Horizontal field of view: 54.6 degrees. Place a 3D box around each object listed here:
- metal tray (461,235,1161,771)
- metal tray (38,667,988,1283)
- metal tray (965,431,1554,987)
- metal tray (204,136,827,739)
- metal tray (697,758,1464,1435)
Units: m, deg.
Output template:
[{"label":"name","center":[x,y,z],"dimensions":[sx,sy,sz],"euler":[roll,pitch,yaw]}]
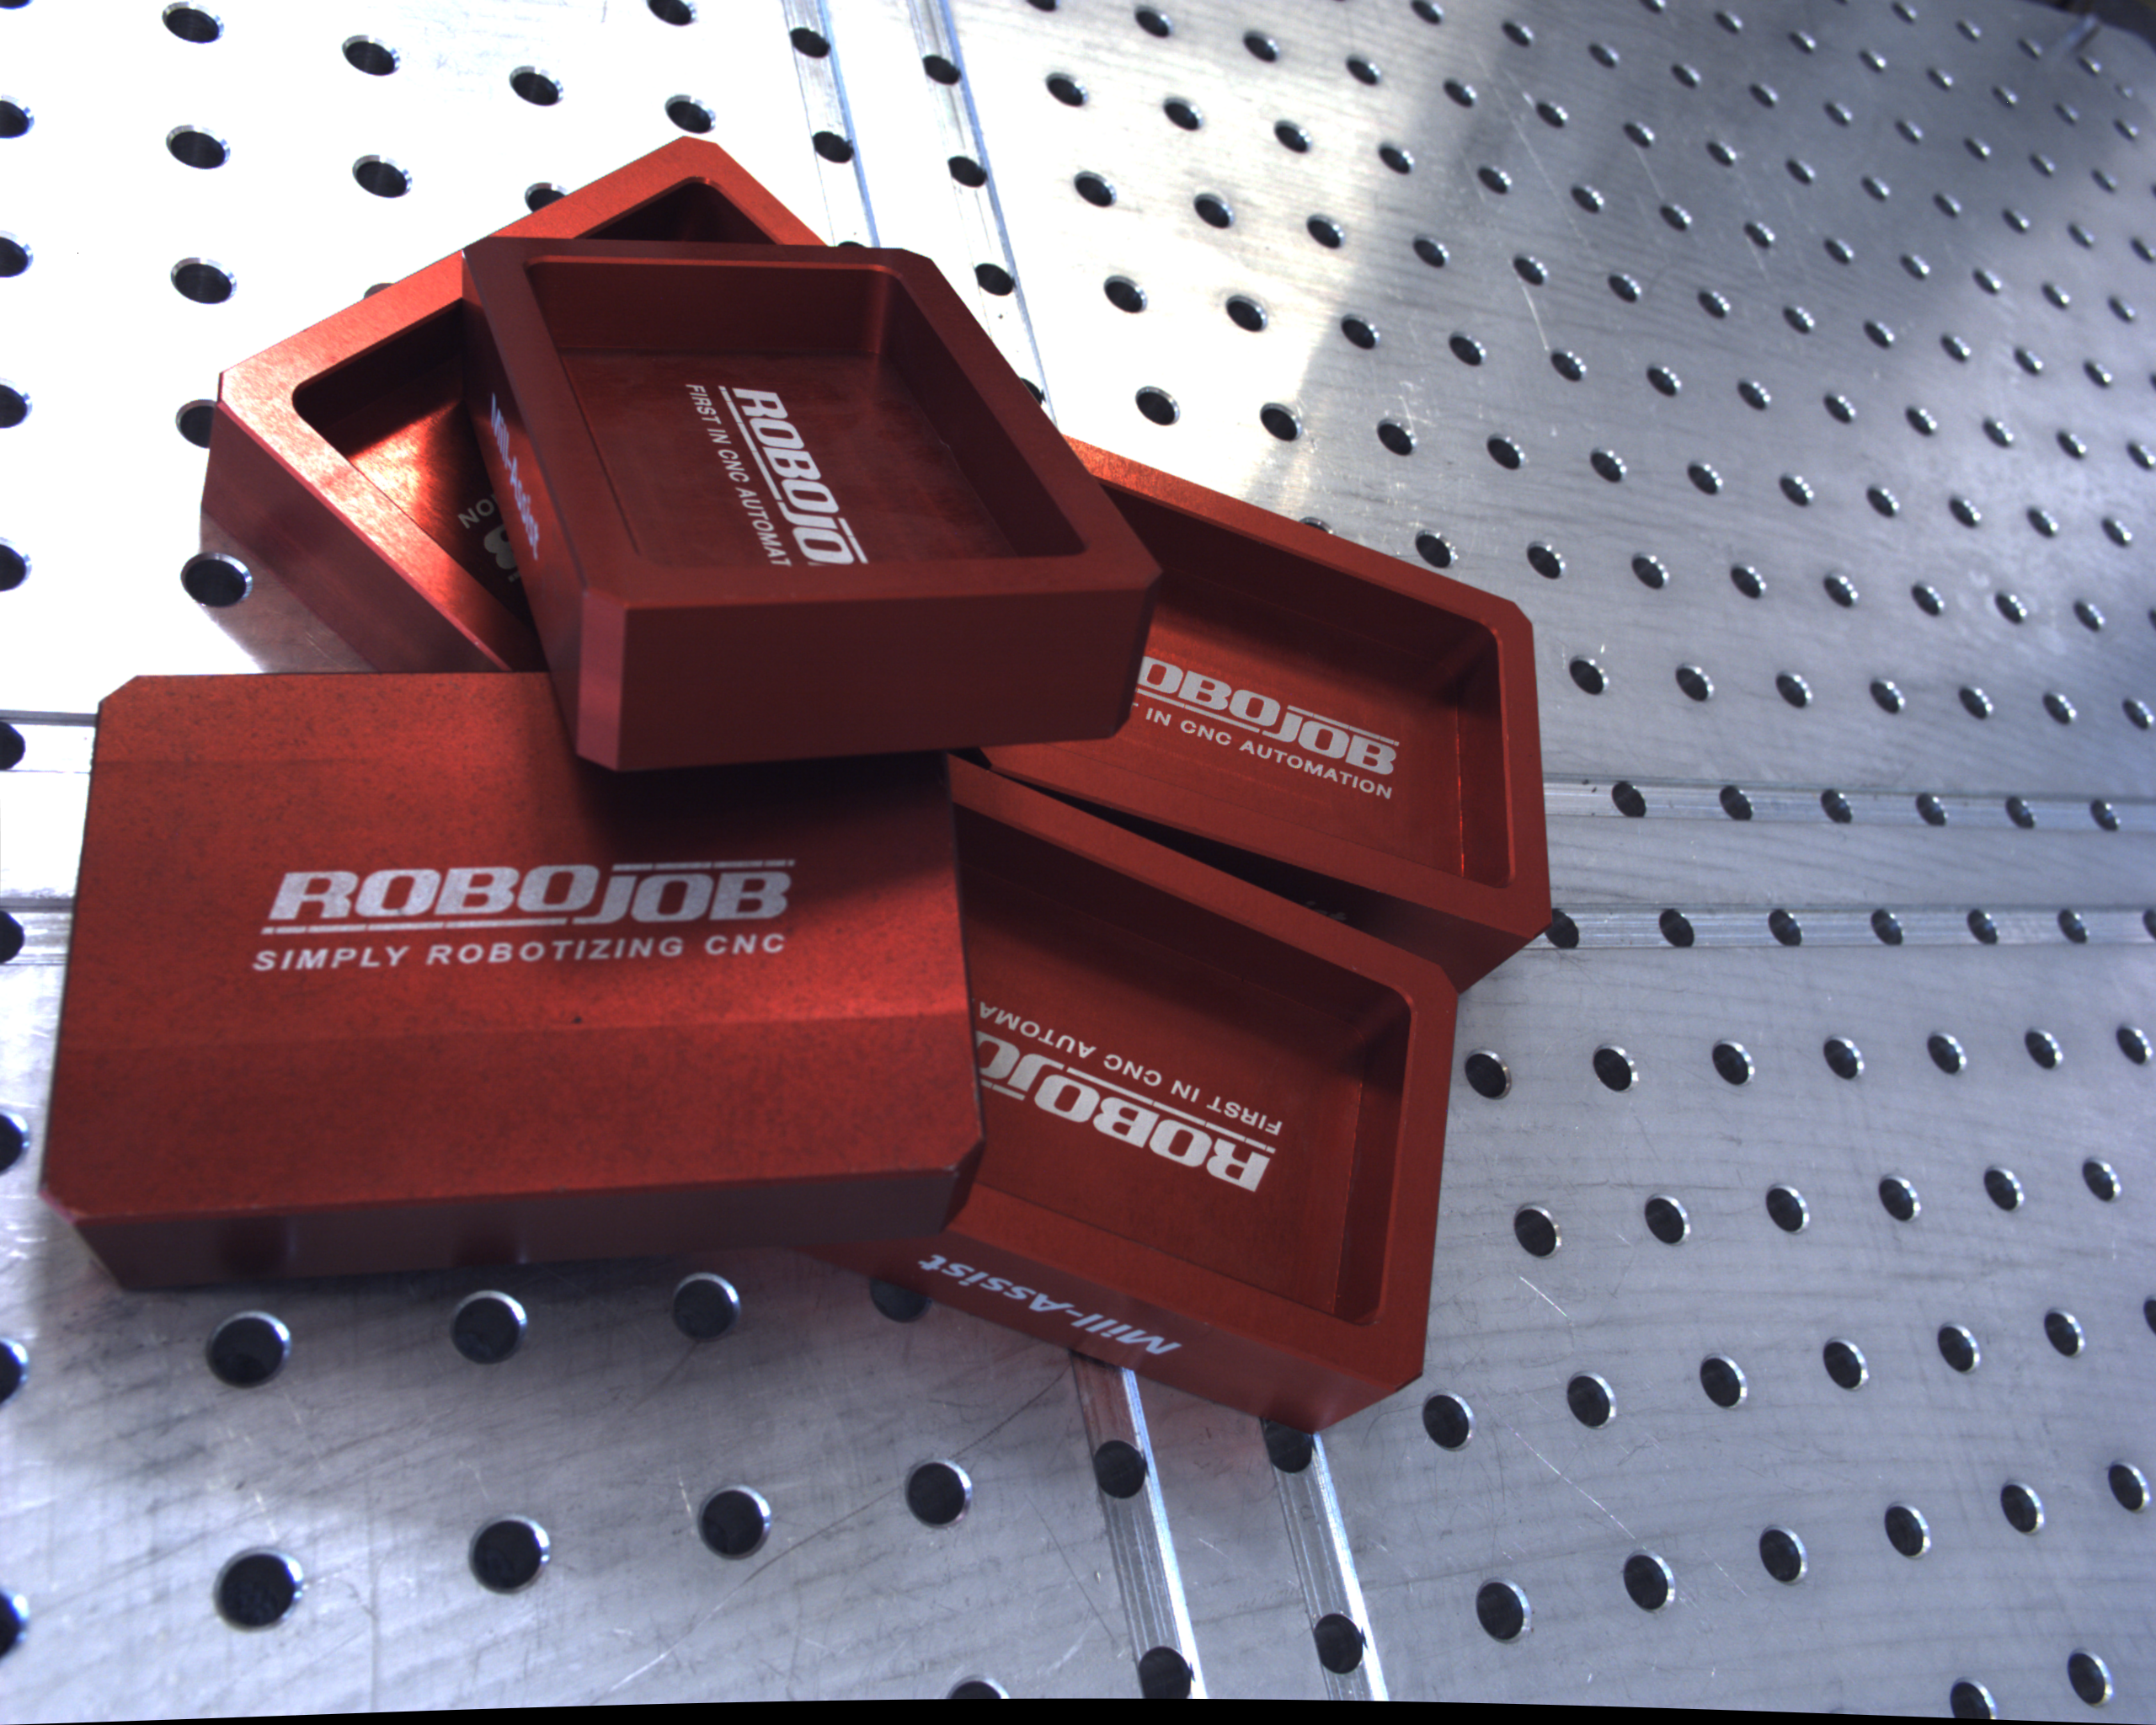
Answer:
[{"label":"metal tray","center":[-0.052,-0.068,0.363],"dimensions":[0.091,0.030,0.130],"euler":[-5,40,-22]},{"label":"metal tray","center":[-0.084,0.015,0.328],"dimensions":[0.131,0.030,0.090],"euler":[-1,62,-13]},{"label":"metal tray","center":[0.036,-0.032,0.441],"dimensions":[0.131,0.030,0.090],"euler":[17,56,-19]},{"label":"metal tray","center":[-0.087,-0.081,0.406],"dimensions":[0.090,0.030,0.131],"euler":[42,51,2]},{"label":"metal tray","center":[0.004,0.040,0.381],"dimensions":[0.131,0.030,0.090],"euler":[23,54,-14]}]
